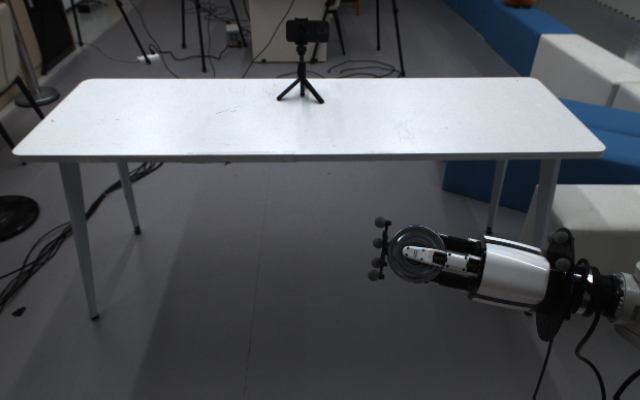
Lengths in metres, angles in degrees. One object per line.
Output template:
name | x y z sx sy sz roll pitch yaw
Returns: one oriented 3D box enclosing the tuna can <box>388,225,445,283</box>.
tuna can | 0.146 0.077 0.713 0.085 0.085 0.034 9 -7 10
